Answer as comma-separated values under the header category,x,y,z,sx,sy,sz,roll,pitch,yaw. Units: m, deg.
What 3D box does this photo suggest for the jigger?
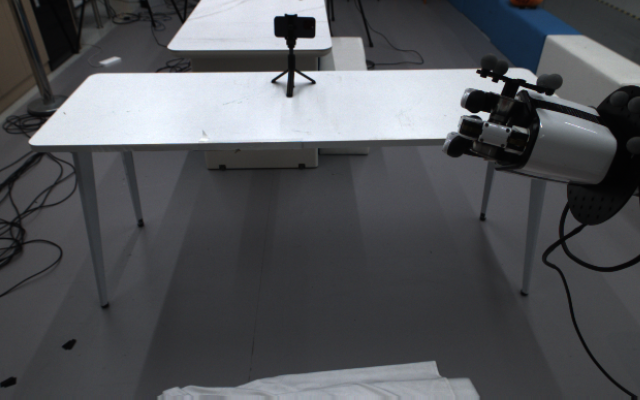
category,x,y,z,sx,sy,sz,roll,pitch,yaw
jigger,0.201,-0.083,0.551,0.043,0.071,0.043,15,17,-5
